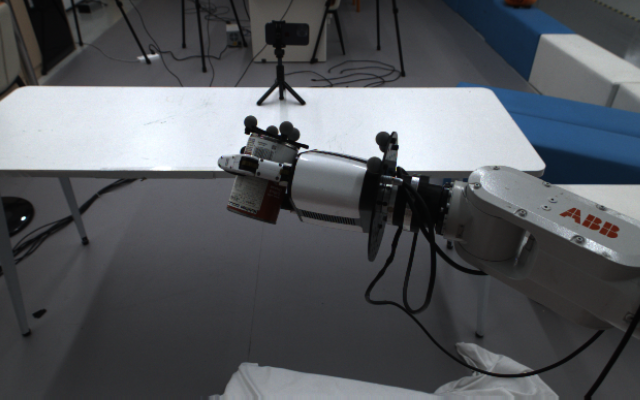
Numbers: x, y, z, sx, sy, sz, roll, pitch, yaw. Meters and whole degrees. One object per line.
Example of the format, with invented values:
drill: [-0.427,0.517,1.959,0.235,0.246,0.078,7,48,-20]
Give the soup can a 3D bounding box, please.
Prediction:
soup can: [-0.073,-0.026,0.620,0.067,0.101,0.067,17,-1,0]
